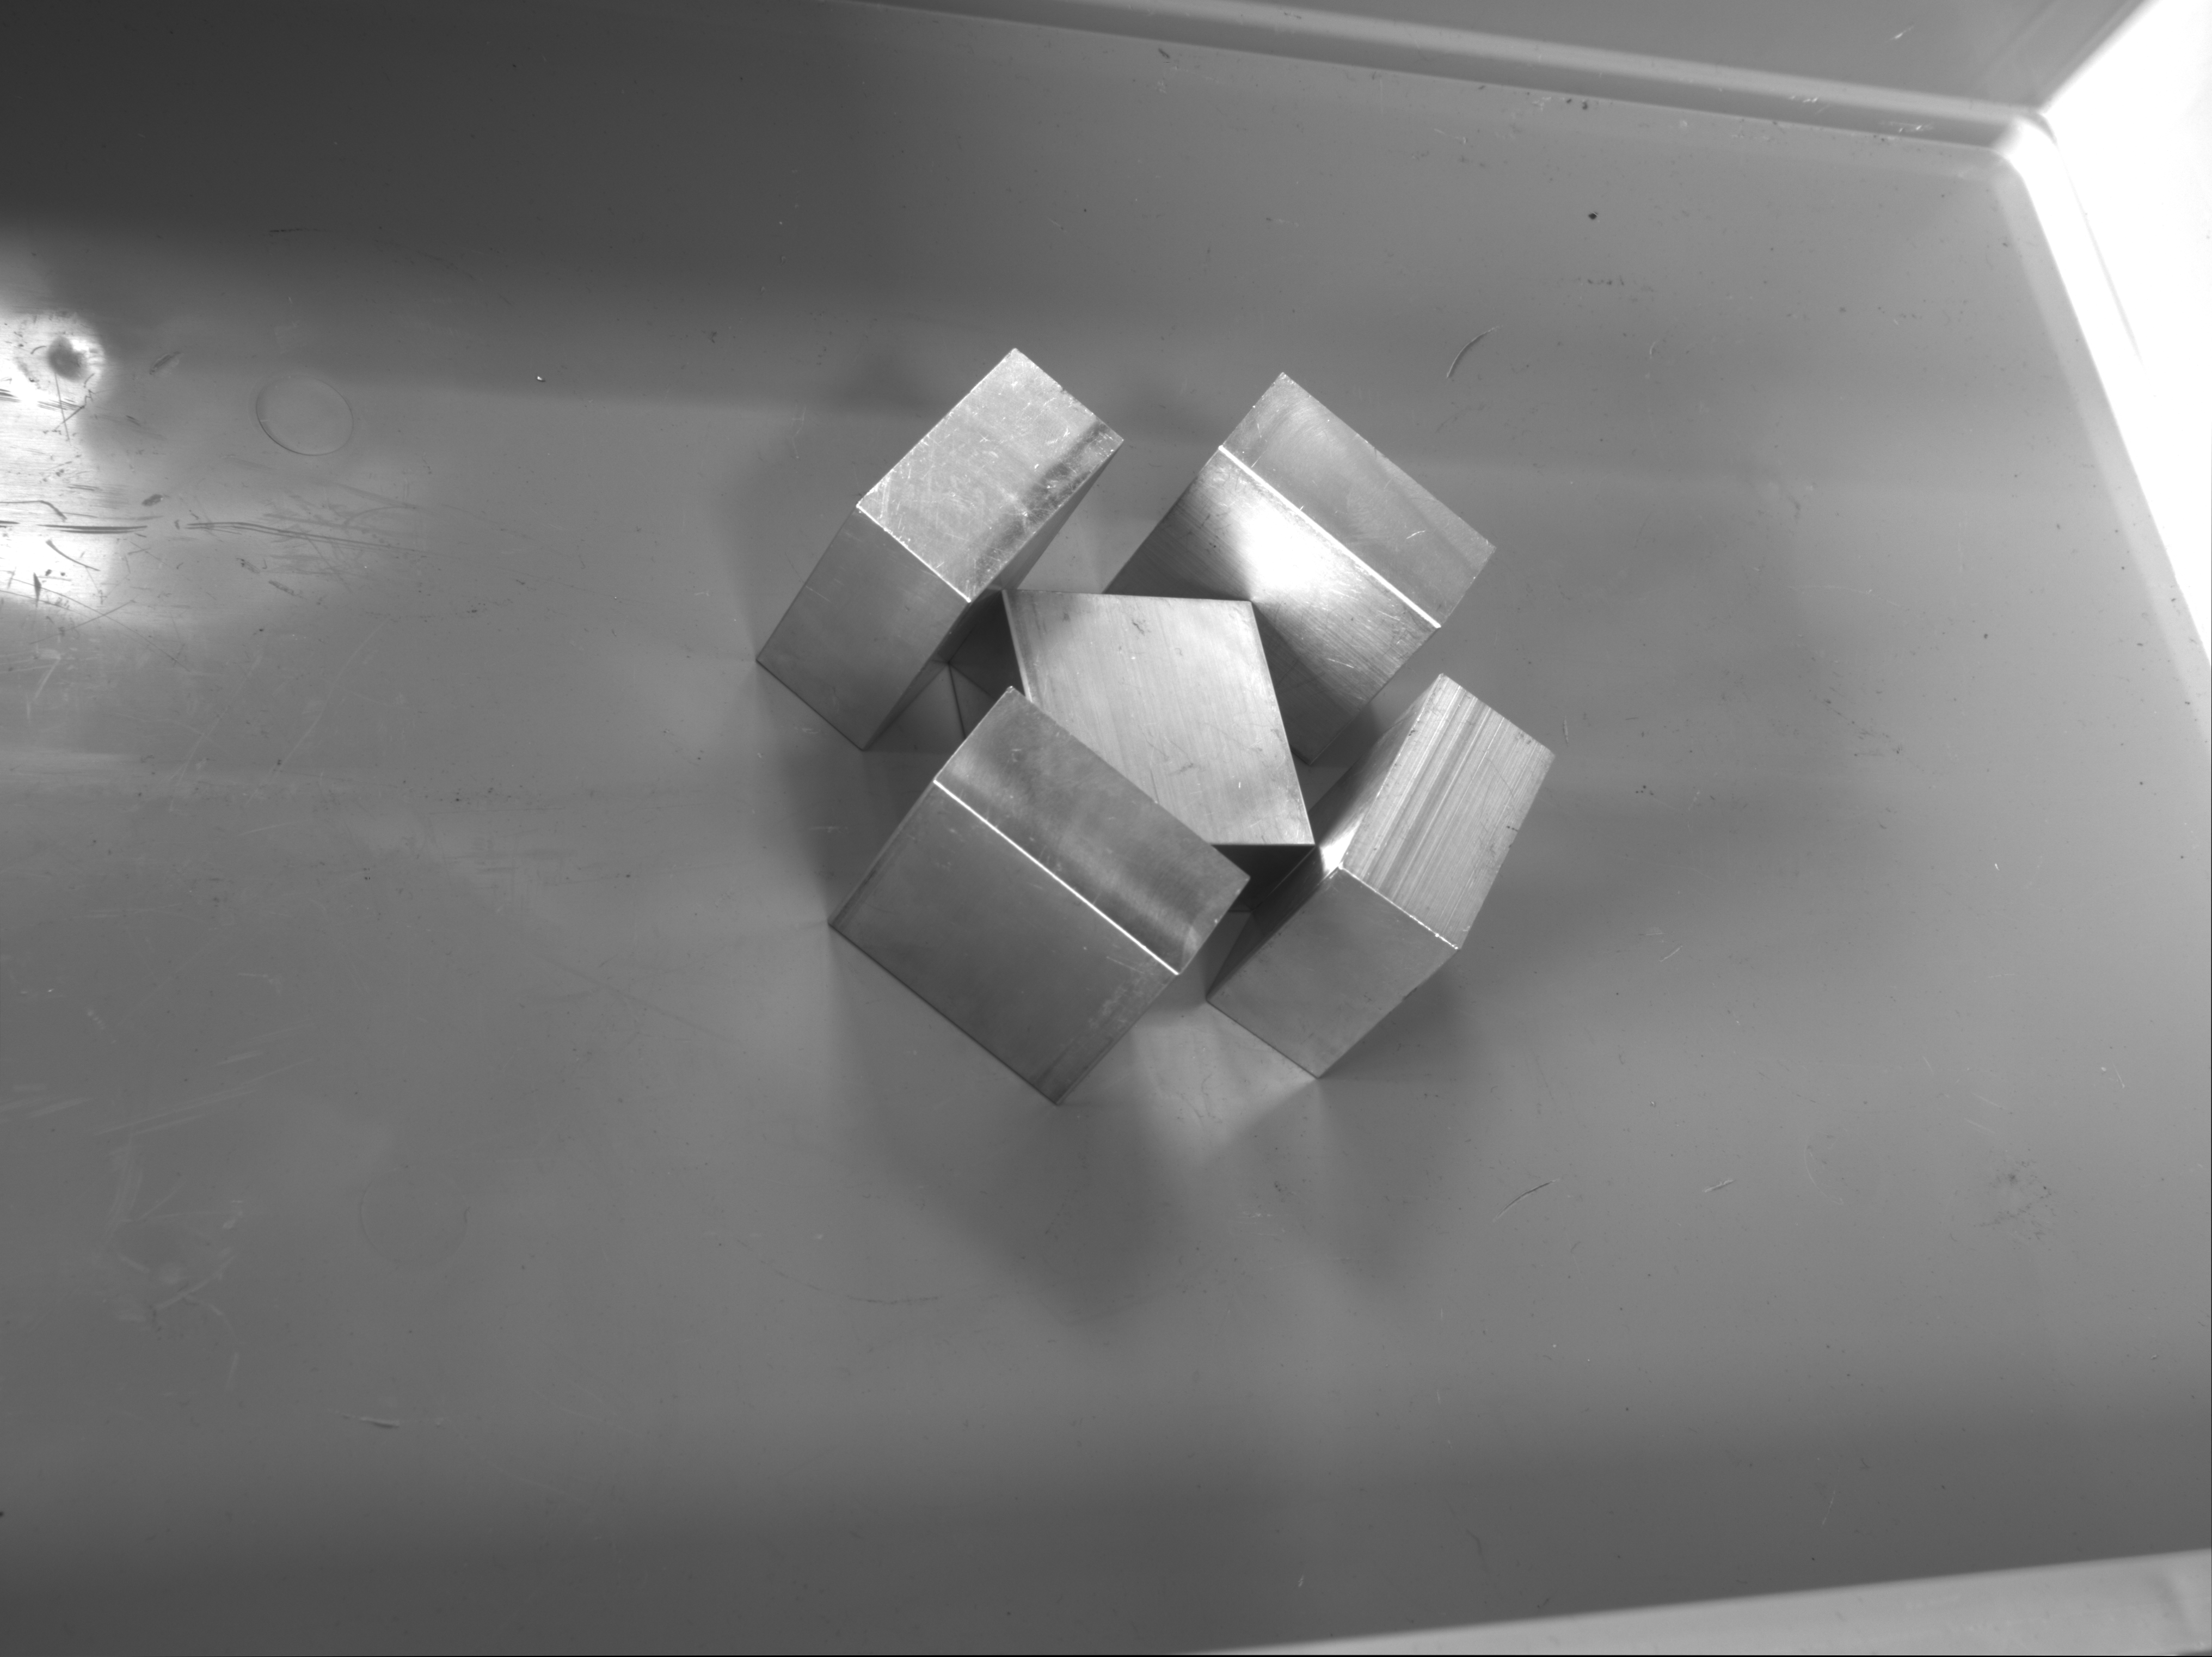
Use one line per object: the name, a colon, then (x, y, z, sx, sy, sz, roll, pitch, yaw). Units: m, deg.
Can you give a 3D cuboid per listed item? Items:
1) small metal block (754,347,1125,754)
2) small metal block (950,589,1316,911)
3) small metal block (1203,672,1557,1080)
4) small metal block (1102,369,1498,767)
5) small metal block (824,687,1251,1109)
small metal block: (-0.029, -0.048, 0.634, 0.025, 0.050, 0.050, 40, 52, 1)
small metal block: (0.004, -0.013, 0.647, 0.050, 0.025, 0.050, 1, 61, -28)
small metal block: (0.048, 0.009, 0.641, 0.025, 0.050, 0.050, 35, 50, -6)
small metal block: (0.034, -0.047, 0.667, 0.050, 0.050, 0.025, 39, 50, -2)
small metal block: (-0.012, 0.012, 0.607, 0.050, 0.050, 0.025, 39, 52, -2)
